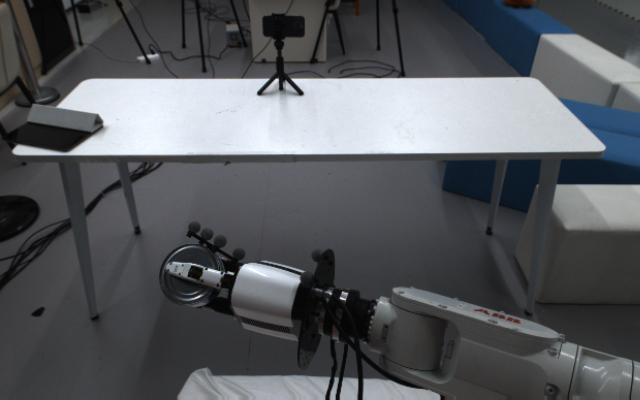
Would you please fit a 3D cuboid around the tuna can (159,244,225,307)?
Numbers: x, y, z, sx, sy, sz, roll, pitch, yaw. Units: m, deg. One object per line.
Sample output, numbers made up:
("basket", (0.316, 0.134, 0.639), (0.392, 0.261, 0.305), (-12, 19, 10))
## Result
("tuna can", (-0.176, 0.107, 0.677), (0.085, 0.034, 0.085), (-2, 70, 6))
